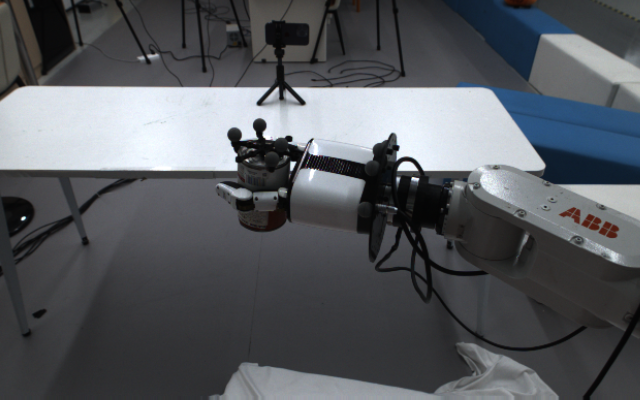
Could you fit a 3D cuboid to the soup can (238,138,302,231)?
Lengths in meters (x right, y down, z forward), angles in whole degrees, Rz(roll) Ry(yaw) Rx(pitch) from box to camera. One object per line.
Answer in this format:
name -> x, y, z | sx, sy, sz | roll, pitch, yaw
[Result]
soup can -> -0.073, -0.017, 0.627 | 0.067, 0.101, 0.067 | 5, 37, -4
